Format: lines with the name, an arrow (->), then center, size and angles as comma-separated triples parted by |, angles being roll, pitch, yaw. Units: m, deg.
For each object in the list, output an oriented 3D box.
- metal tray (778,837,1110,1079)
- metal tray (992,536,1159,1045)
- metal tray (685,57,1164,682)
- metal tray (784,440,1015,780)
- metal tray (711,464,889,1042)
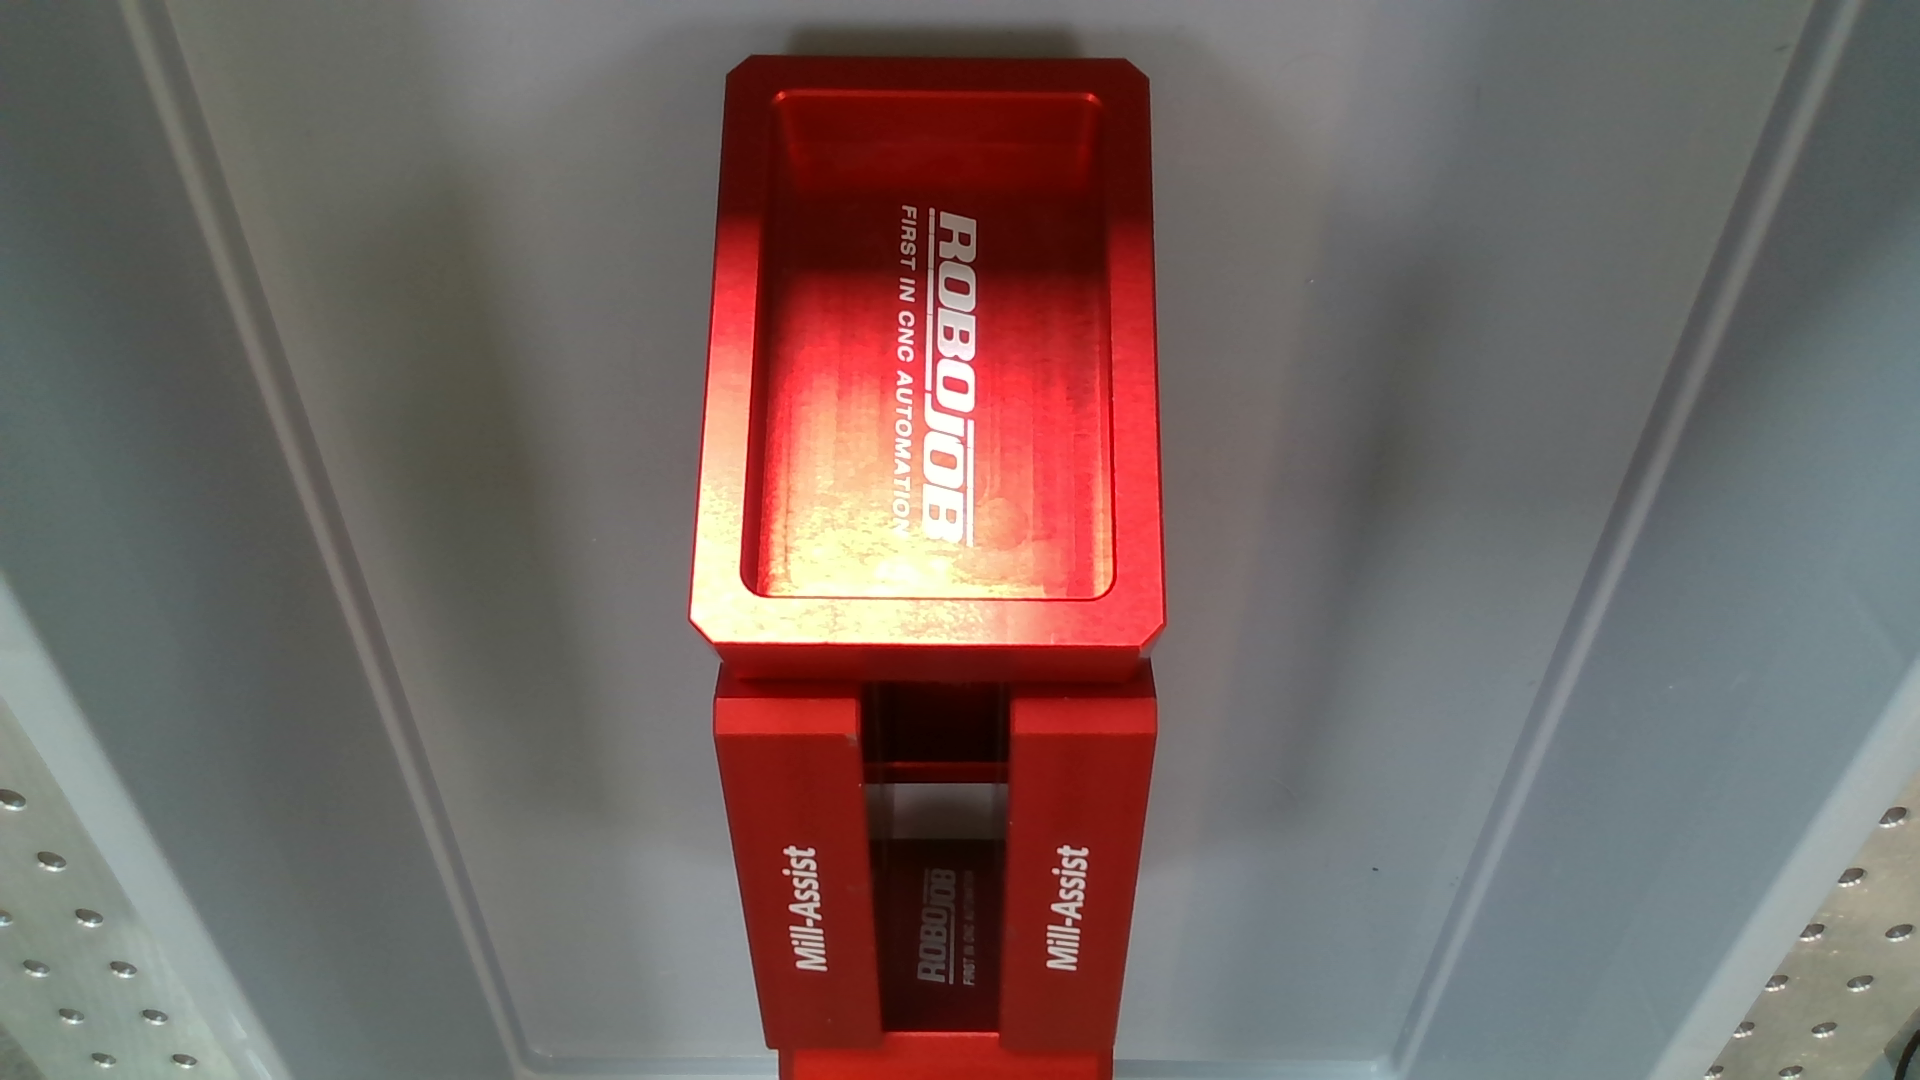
metal tray -> -0.004, 0.133, 0.433 | 0.090, 0.130, 0.030 | 0, 100, 0
metal tray -> 0.025, 0.056, 0.353 | 0.030, 0.090, 0.130 | 0, 130, 0
metal tray -> -0.006, -0.037, 0.290 | 0.090, 0.130, 0.030 | 1, 162, 0
metal tray -> -0.006, 0.016, 0.398 | 0.090, 0.030, 0.130 | 0, 131, 0
metal tray -> -0.036, 0.056, 0.353 | 0.030, 0.090, 0.130 | 0, 131, 0
